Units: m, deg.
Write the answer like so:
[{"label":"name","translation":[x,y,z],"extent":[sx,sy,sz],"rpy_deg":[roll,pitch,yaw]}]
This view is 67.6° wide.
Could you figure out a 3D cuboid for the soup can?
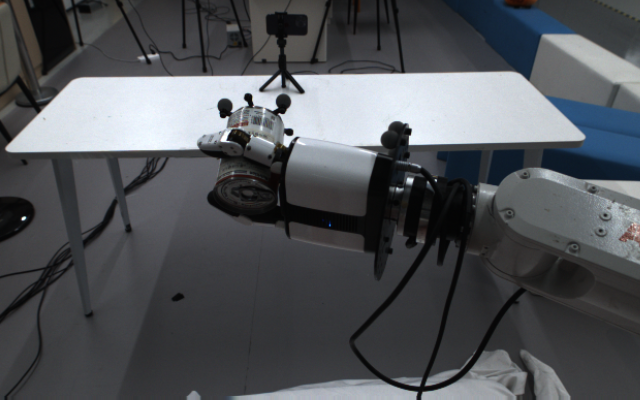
[{"label":"soup can","translation":[-0.075,-0.043,0.531],"extent":[0.067,0.067,0.101],"rpy_deg":[3,59,1]}]
